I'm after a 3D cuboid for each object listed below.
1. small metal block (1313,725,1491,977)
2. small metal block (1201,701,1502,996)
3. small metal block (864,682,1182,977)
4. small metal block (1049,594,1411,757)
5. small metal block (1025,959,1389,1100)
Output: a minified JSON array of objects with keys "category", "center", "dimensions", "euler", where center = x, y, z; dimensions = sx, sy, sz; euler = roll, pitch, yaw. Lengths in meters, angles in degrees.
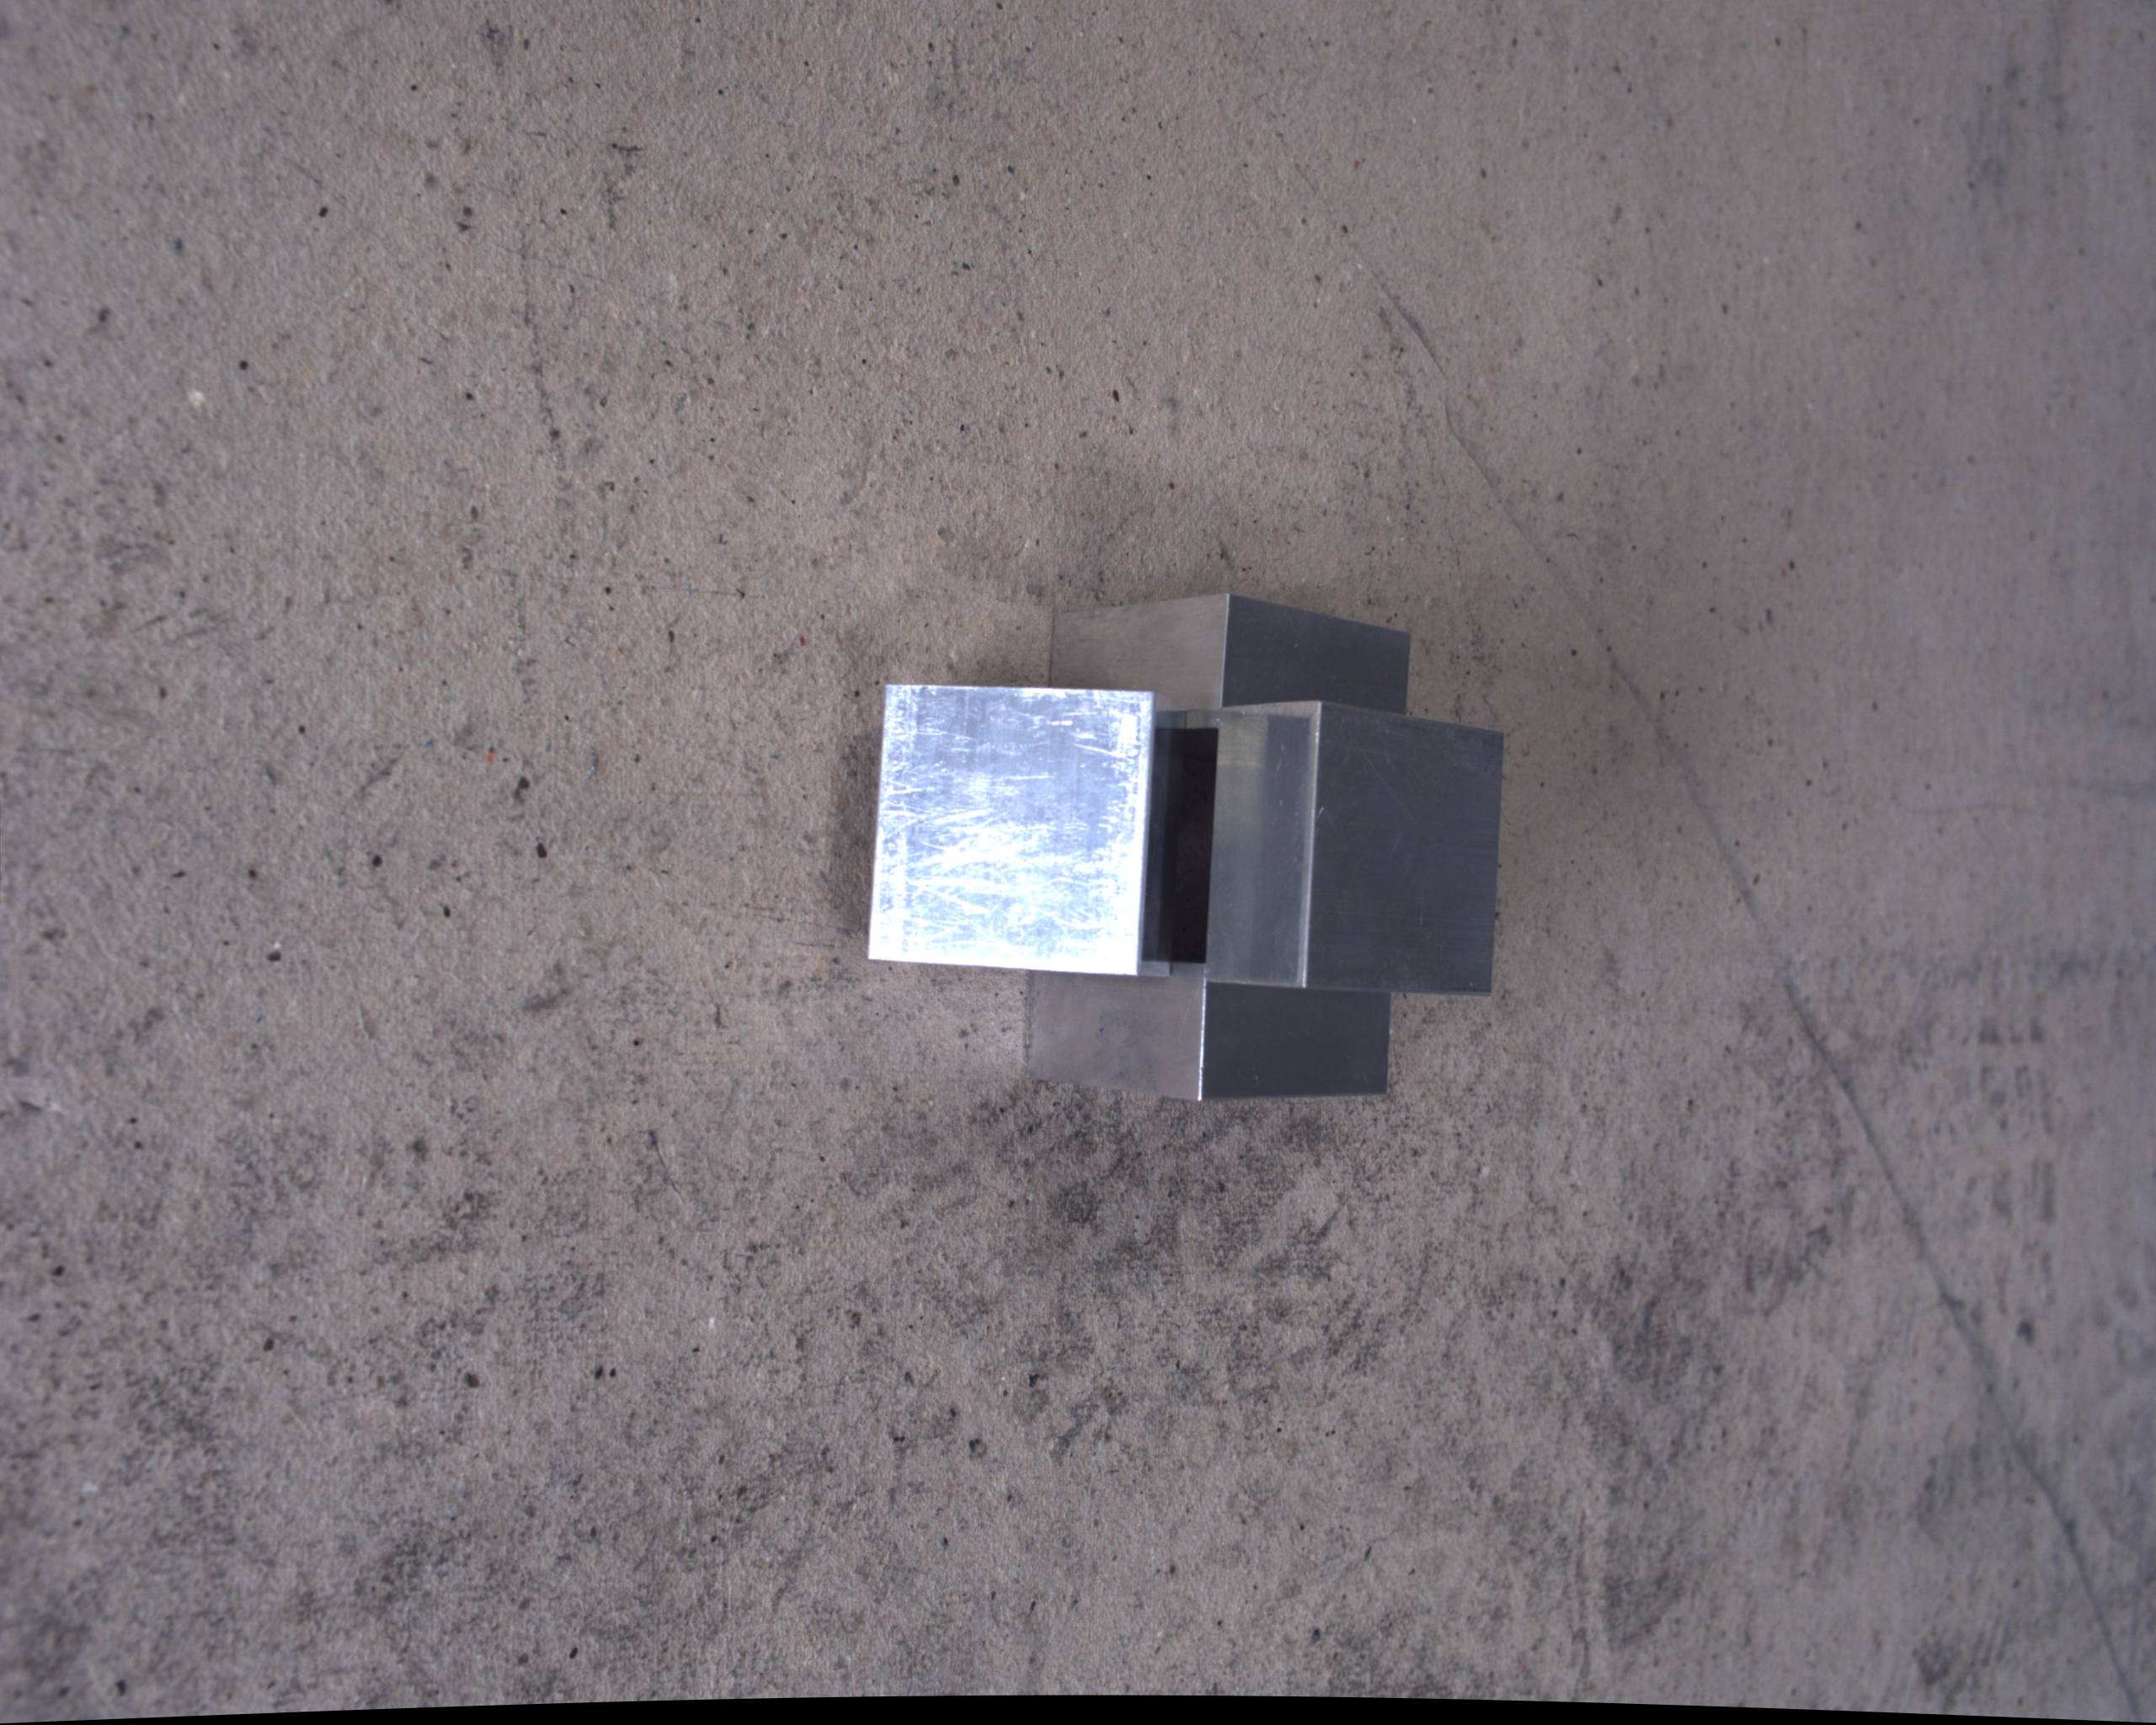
[{"category":"small metal block","center":[0.068,-0.002,0.444],"dimensions":[0.025,0.050,0.050],"euler":[2,89,-4]},{"category":"small metal block","center":[0.051,-0.002,0.384],"dimensions":[0.050,0.025,0.050],"euler":[5,87,-40]},{"category":"small metal block","center":[-0.009,-0.006,0.380],"dimensions":[0.025,0.050,0.050],"euler":[13,80,-75]},{"category":"small metal block","center":[0.030,-0.035,0.415],"dimensions":[0.050,0.050,0.025],"euler":[6,87,-40]},{"category":"small metal block","center":[0.025,0.031,0.412],"dimensions":[0.050,0.050,0.025],"euler":[4,88,-40]}]
